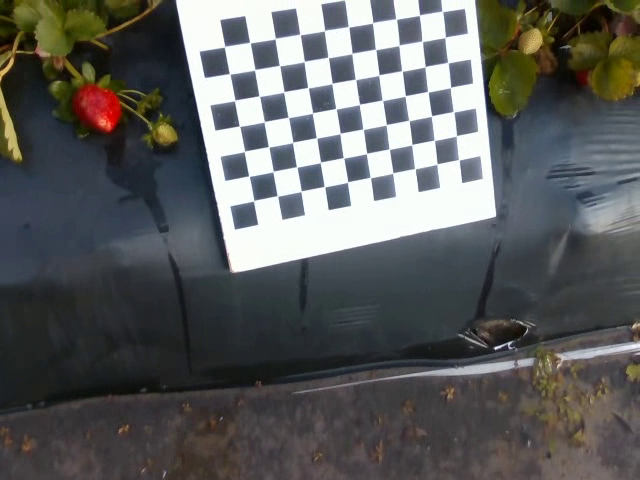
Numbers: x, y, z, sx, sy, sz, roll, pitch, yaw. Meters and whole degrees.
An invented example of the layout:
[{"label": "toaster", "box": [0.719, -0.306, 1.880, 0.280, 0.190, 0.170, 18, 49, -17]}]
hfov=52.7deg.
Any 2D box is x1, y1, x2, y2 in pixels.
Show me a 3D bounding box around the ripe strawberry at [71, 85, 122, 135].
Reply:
[{"label": "ripe strawberry", "box": [-0.203, -0.117, 0.599, 0.052, 0.043, 0.057, 53, 1, -44]}]
